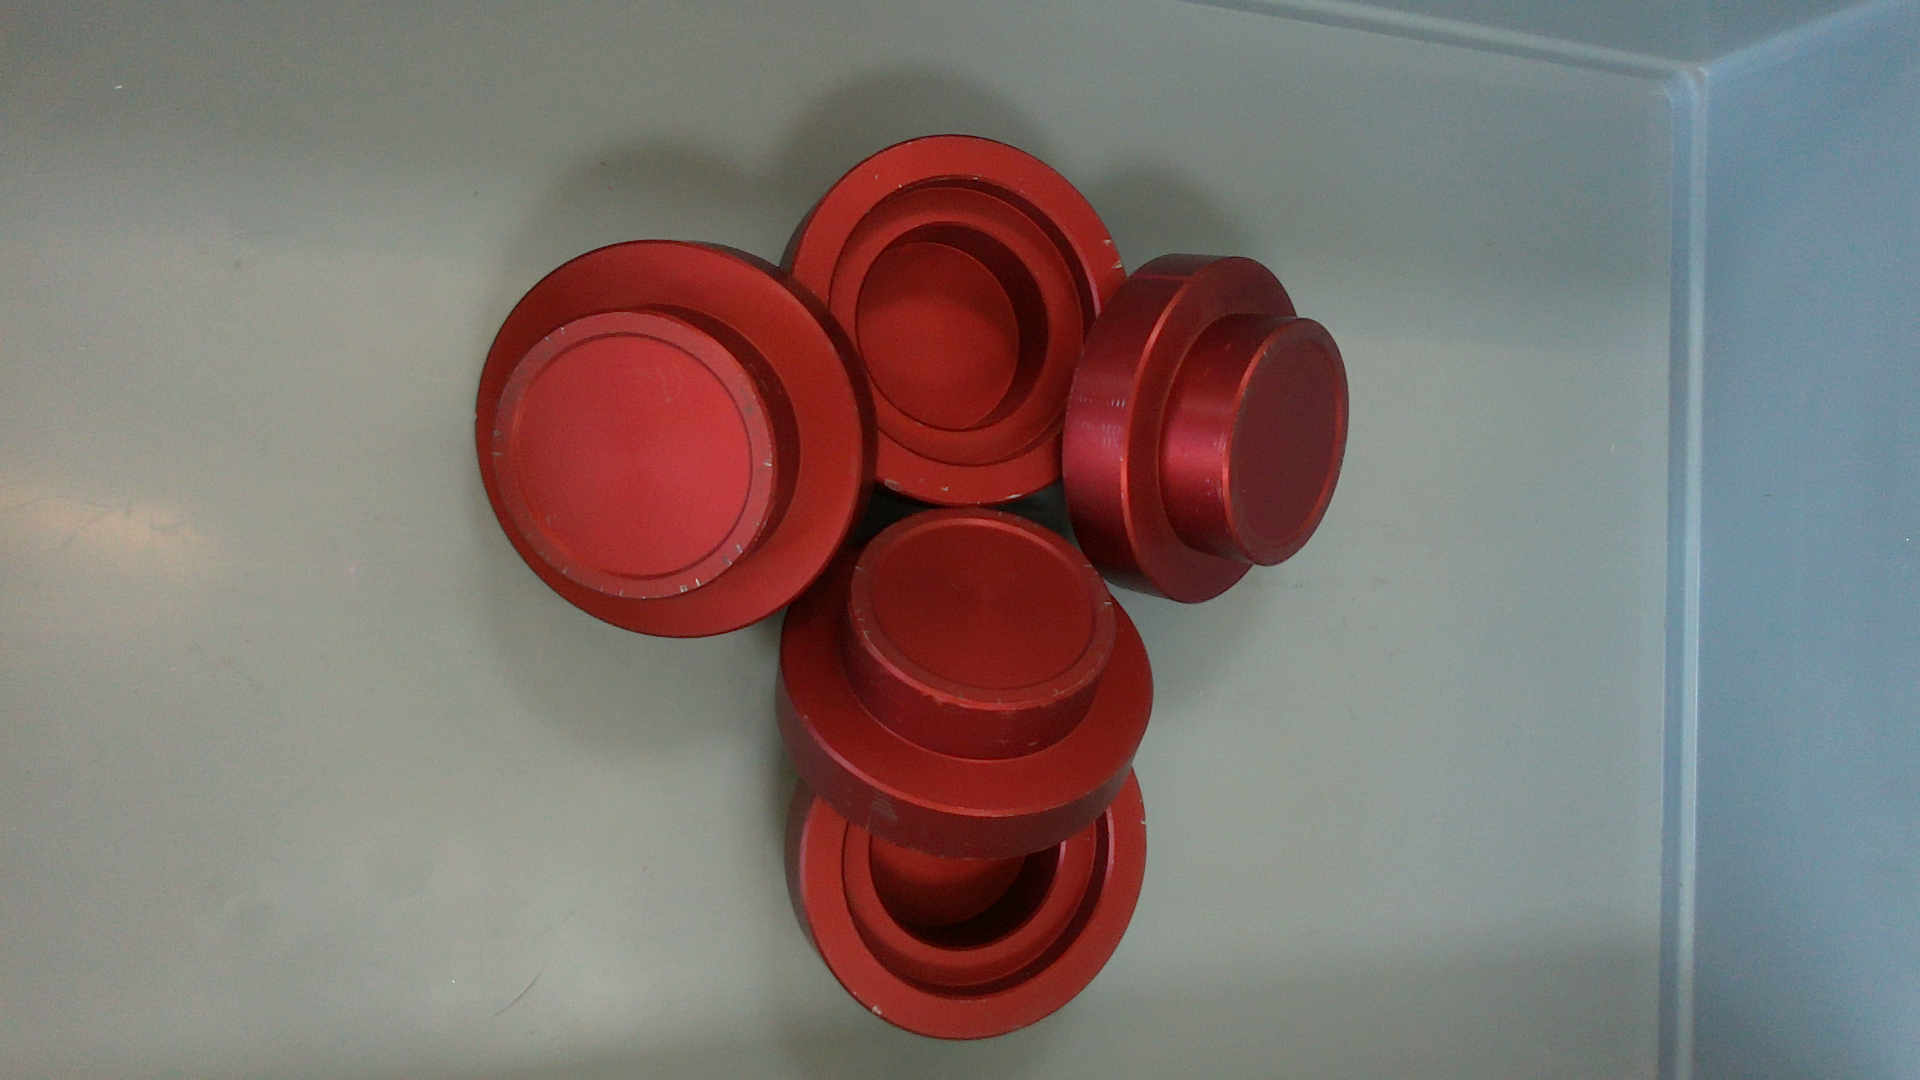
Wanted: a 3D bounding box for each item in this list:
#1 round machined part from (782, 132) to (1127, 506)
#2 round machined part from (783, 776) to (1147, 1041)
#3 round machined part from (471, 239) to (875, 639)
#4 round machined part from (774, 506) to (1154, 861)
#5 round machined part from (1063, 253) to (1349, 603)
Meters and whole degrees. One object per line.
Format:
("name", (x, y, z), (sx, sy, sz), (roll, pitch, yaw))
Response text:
("round machined part", (-0.004, -0.058, 0.380), (0.098, 0.042, 0.098), (0, 90, -20))
("round machined part", (-0.001, 0.083, 0.382), (0.098, 0.042, 0.098), (0, 90, -20))
("round machined part", (-0.073, -0.023, 0.333), (0.098, 0.042, 0.098), (1, 102, 8))
("round machined part", (0.003, 0.029, 0.354), (0.098, 0.098, 0.042), (-7, 137, -20))
("round machined part", (0.075, -0.030, 0.386), (0.098, 0.042, 0.098), (-18, 114, -47))
